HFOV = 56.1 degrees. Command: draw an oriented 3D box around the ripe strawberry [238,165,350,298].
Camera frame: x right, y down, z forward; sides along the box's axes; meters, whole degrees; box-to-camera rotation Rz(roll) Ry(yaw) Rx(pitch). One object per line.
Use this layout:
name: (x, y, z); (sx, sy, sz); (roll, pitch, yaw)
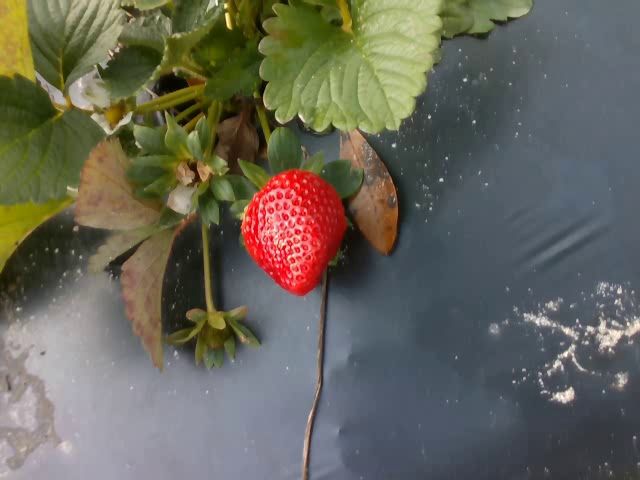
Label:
ripe strawberry: (-0.010, 0.002, 0.233); (0.050, 0.049, 0.053); (-29, 36, 10)
